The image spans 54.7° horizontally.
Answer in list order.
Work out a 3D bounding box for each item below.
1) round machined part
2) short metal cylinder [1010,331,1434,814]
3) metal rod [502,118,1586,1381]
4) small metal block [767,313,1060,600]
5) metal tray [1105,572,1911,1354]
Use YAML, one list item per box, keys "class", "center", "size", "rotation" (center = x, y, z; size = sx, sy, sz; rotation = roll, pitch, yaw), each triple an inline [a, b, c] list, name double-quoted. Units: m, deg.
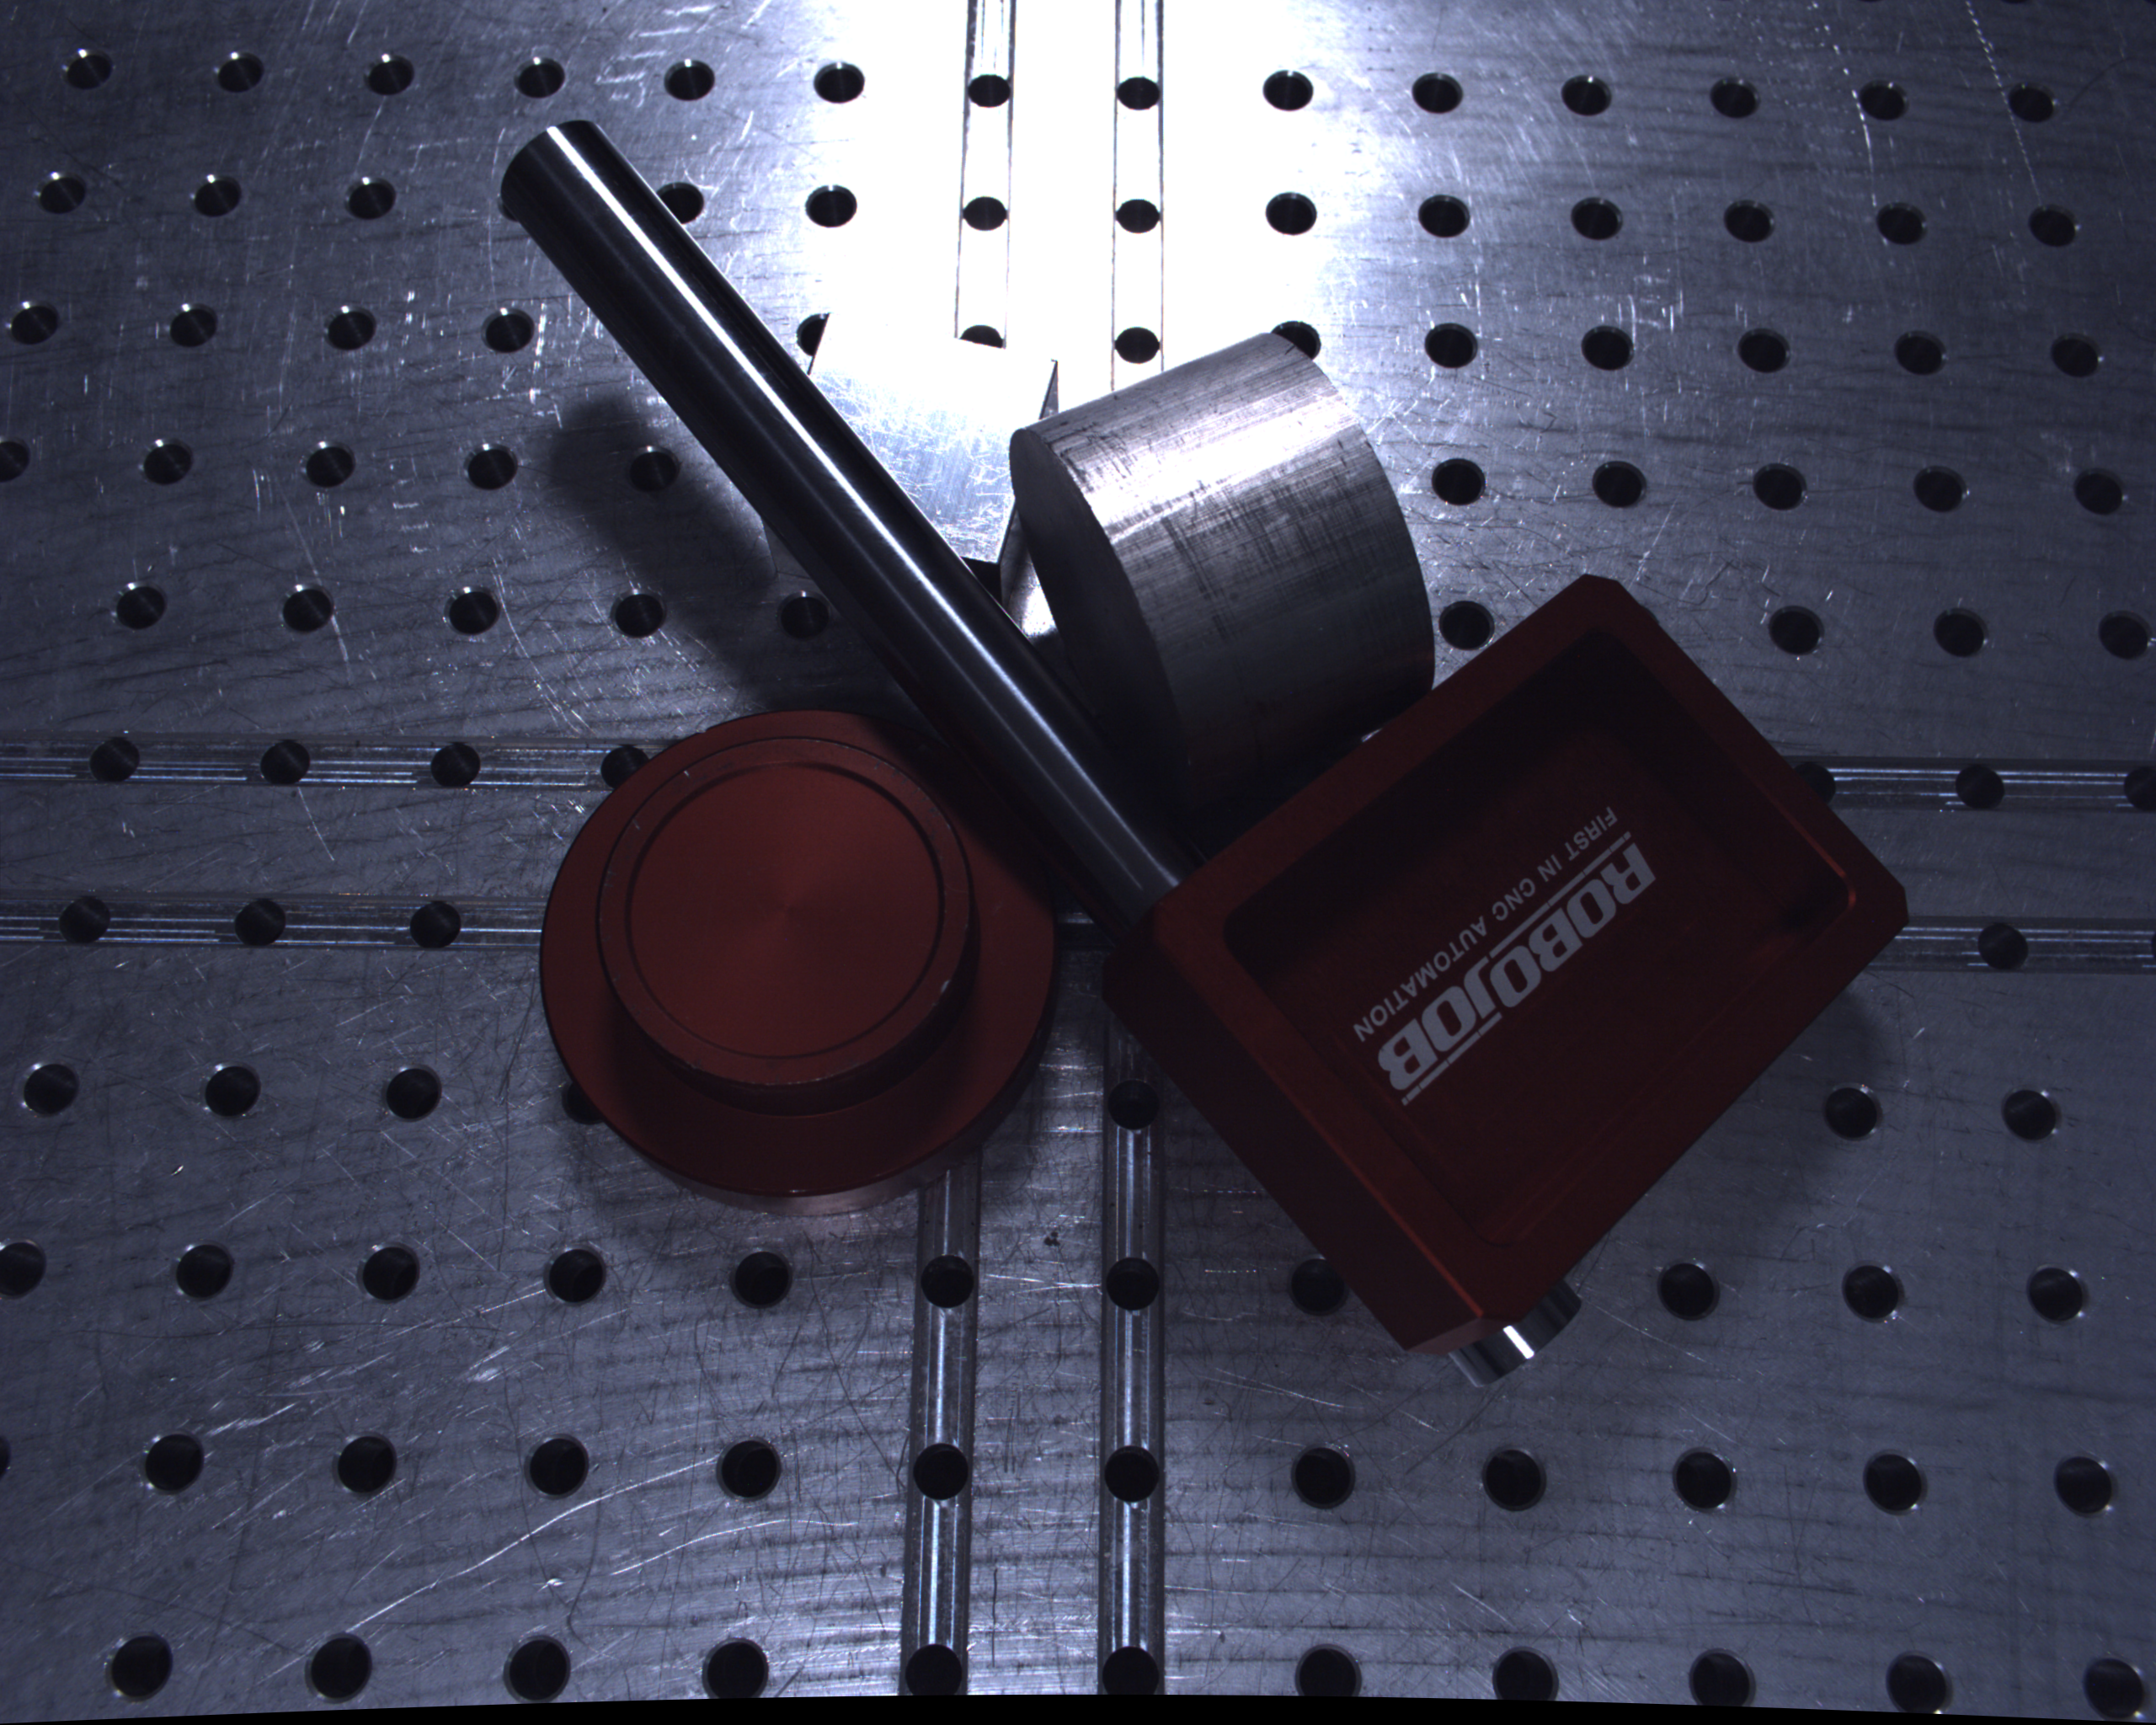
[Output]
- class: "round machined part"
  center: [-0.053, 0.015, 0.396]
  size: [0.099, 0.042, 0.098]
  rotation: [0, 70, -1]
- class: "short metal cylinder"
  center: [0.027, -0.055, 0.403]
  size: [0.050, 0.080, 0.080]
  rotation: [-24, 72, -9]
- class: "metal rod"
  center: [-0.011, -0.027, 0.404]
  size: [0.025, 0.025, 0.300]
  rotation: [-38, 83, -13]
- class: "small metal block"
  center: [-0.034, -0.084, 0.442]
  size: [0.050, 0.025, 0.050]
  rotation: [13, 70, 4]
- class: "metal tray"
  center: [0.081, 0.014, 0.382]
  size: [0.131, 0.030, 0.090]
  rotation: [-37, 81, -28]
